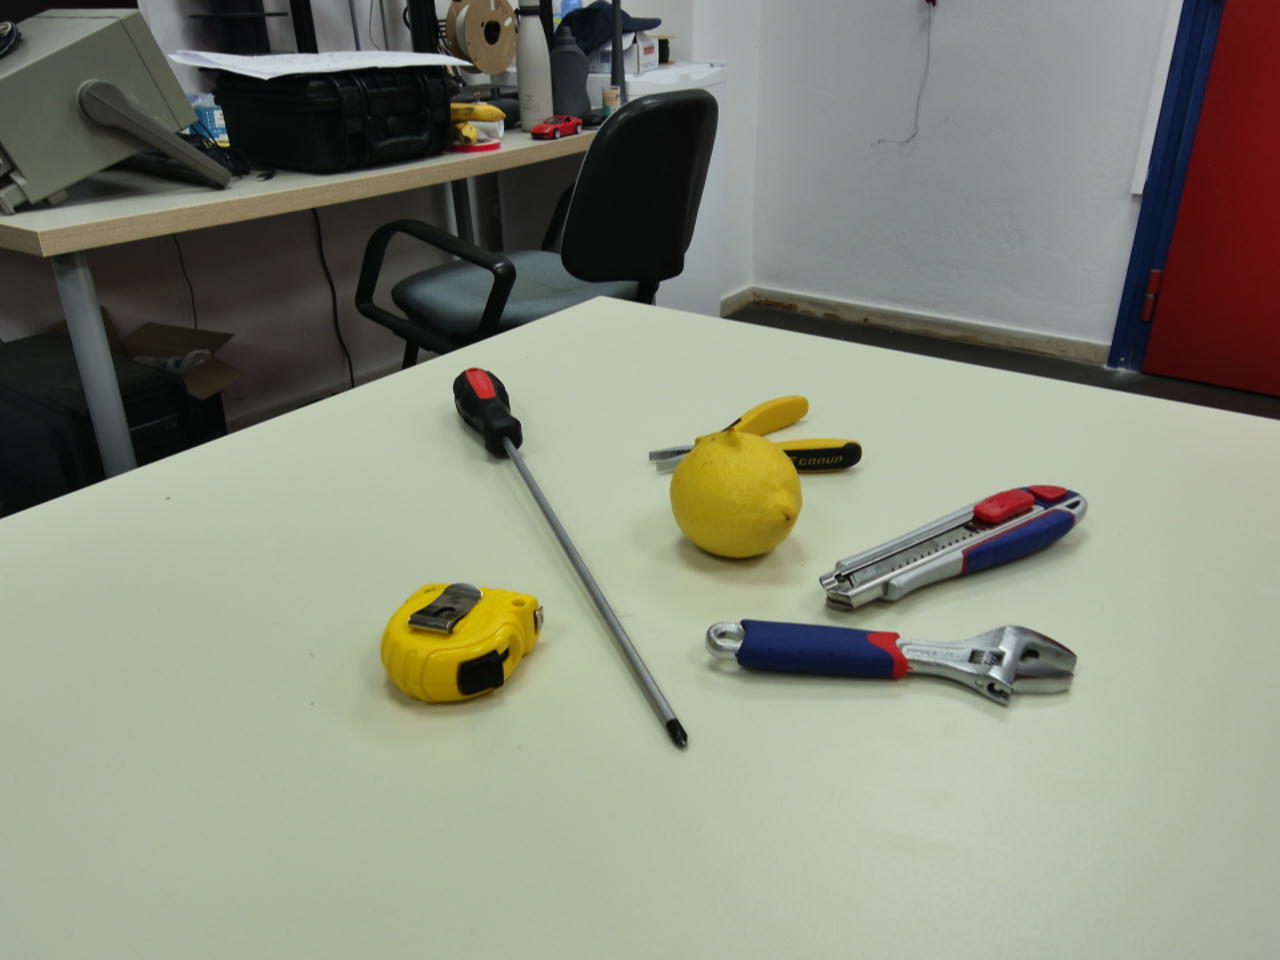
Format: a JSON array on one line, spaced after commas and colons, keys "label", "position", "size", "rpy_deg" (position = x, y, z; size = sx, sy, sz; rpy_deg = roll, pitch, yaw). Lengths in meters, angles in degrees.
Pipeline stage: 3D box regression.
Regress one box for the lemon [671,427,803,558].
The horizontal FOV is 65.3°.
[{"label": "lemon", "position": [0.051, 0.005, 0.537], "size": [0.070, 0.071, 0.071], "rpy_deg": [1, 24, 3]}]
